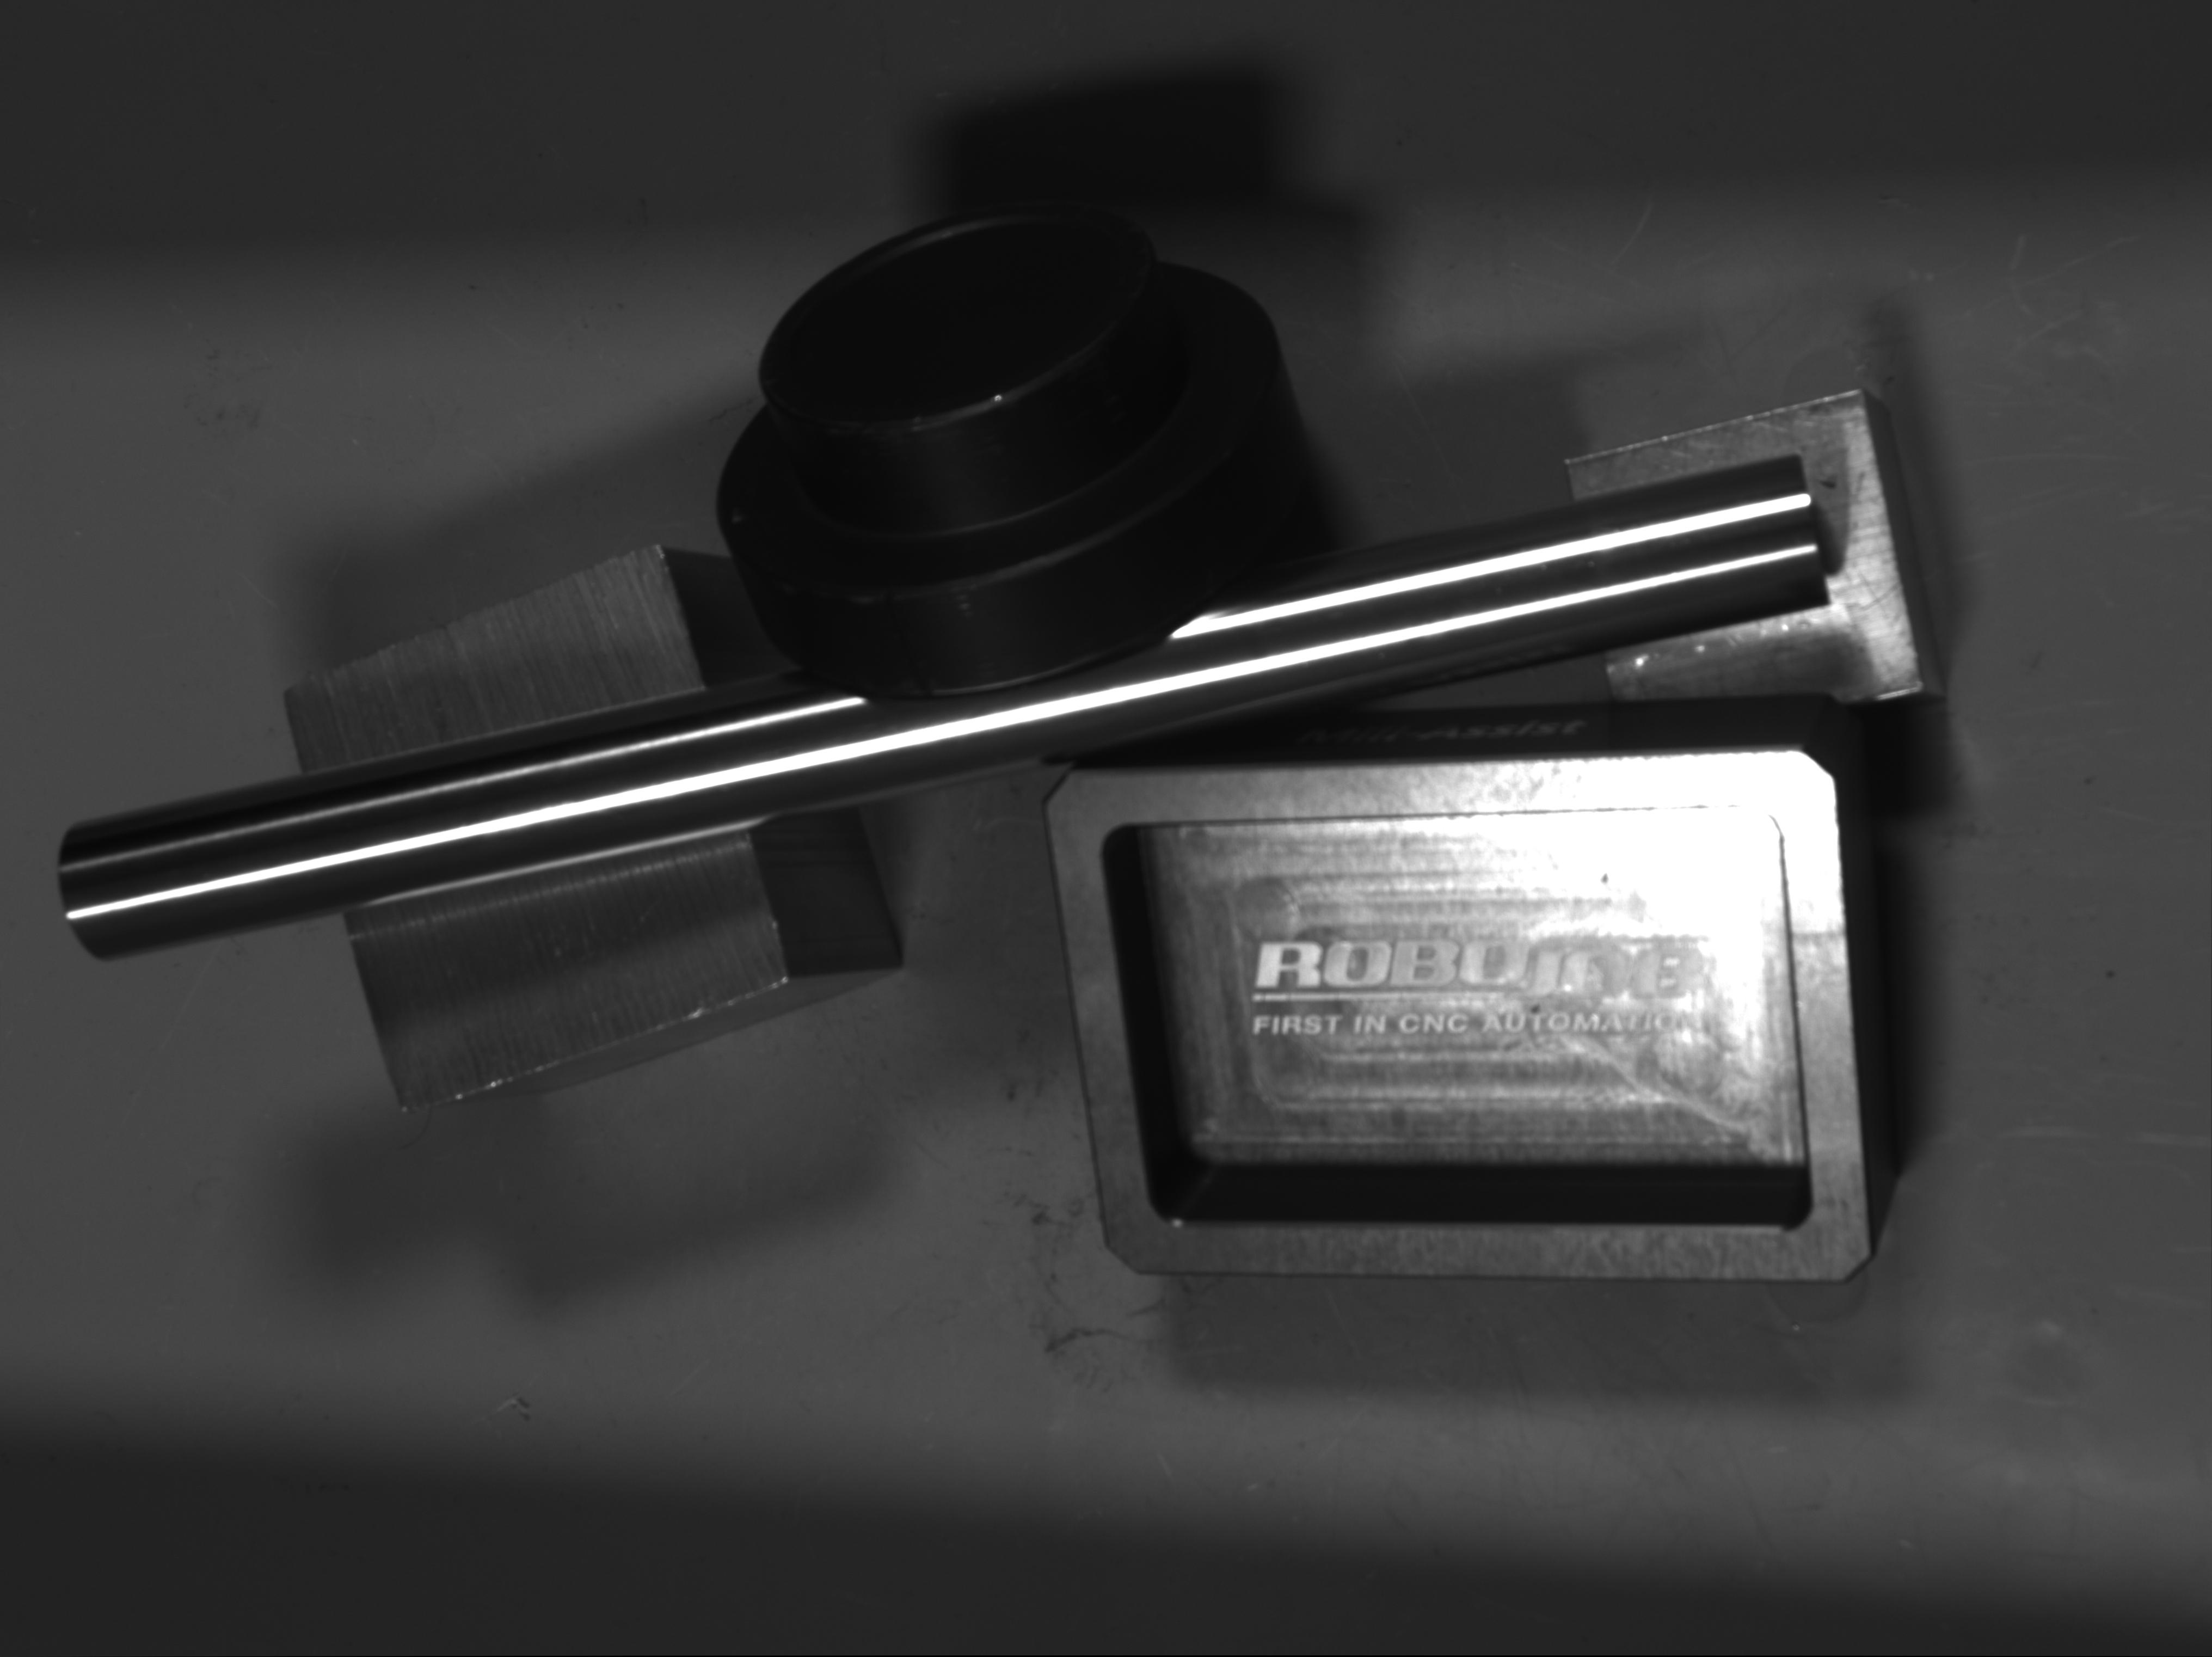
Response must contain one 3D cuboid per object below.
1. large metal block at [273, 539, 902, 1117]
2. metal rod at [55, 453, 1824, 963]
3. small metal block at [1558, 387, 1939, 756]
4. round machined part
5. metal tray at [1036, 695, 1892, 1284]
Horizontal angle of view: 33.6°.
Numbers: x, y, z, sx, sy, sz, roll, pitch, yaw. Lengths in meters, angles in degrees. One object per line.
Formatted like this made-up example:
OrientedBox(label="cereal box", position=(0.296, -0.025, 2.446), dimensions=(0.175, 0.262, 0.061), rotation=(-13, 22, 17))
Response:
OrientedBox(label="large metal block", position=(-0.093, 0.001, 0.662), dimensions=(0.080, 0.050, 0.080), rotation=(-19, 84, 19))
OrientedBox(label="metal rod", position=(-0.033, -0.018, 0.607), dimensions=(0.300, 0.025, 0.025), rotation=(-11, 86, 12))
OrientedBox(label="small metal block", position=(0.106, -0.041, 0.605), dimensions=(0.050, 0.025, 0.050), rotation=(-12, 86, 19))
OrientedBox(label="round machined part", position=(-0.020, -0.068, 0.609), dimensions=(0.098, 0.098, 0.042), rotation=(-5, 129, 20))
OrientedBox(label="metal tray", position=(0.059, 0.028, 0.604), dimensions=(0.130, 0.030, 0.090), rotation=(-2, 109, 19))
